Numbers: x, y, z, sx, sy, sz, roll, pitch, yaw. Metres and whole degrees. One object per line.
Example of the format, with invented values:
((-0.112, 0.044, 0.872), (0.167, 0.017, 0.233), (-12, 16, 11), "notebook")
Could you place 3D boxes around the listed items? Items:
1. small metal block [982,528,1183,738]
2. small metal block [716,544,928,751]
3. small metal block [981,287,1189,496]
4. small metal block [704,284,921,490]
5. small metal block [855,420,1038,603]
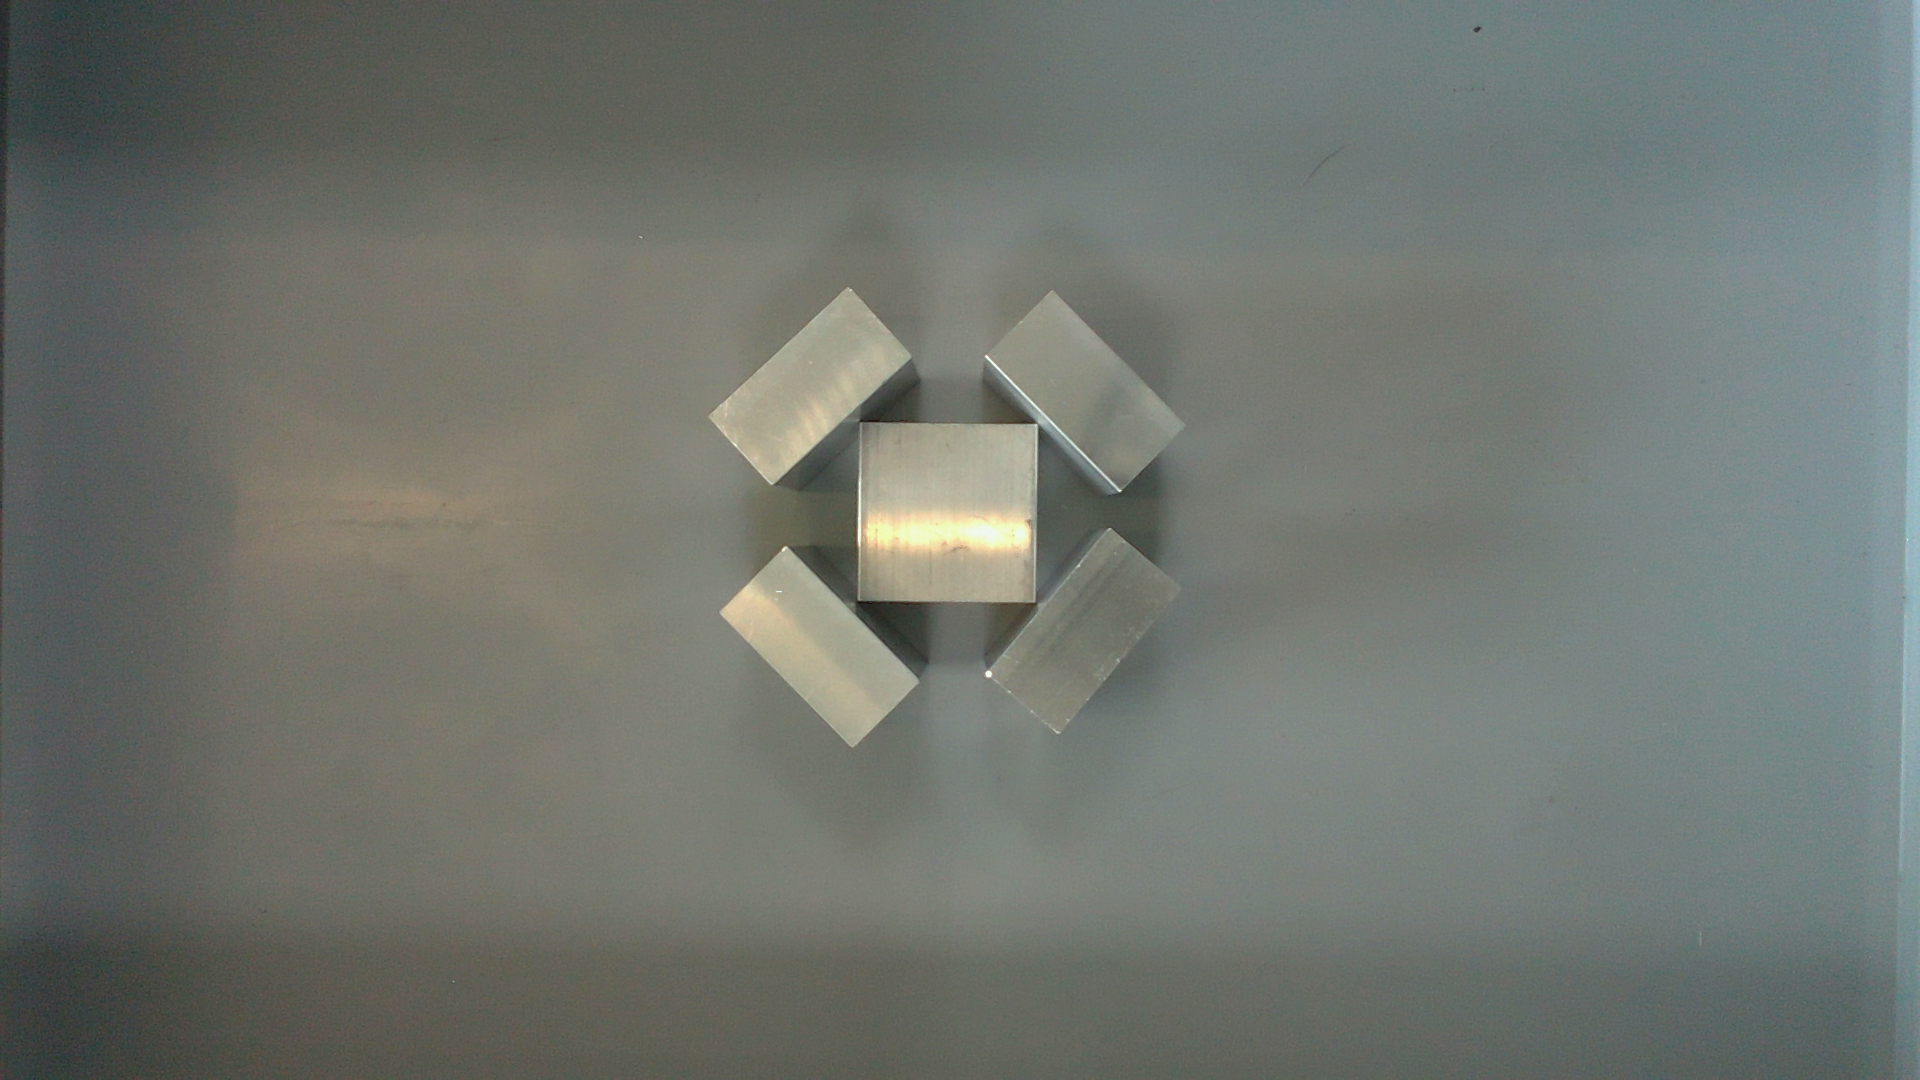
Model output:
((0.032, 0.024, 0.381), (0.025, 0.050, 0.050), (40, 89, -1), "small metal block")
((-0.036, 0.028, 0.381), (0.025, 0.050, 0.050), (-45, 90, 1), "small metal block")
((0.032, -0.039, 0.381), (0.025, 0.050, 0.050), (-45, 91, -1), "small metal block")
((-0.039, -0.040, 0.381), (0.050, 0.050, 0.025), (-42, 89, 1), "small metal block")
((-0.004, -0.008, 0.394), (0.050, 0.025, 0.050), (1, 90, 0), "small metal block")
